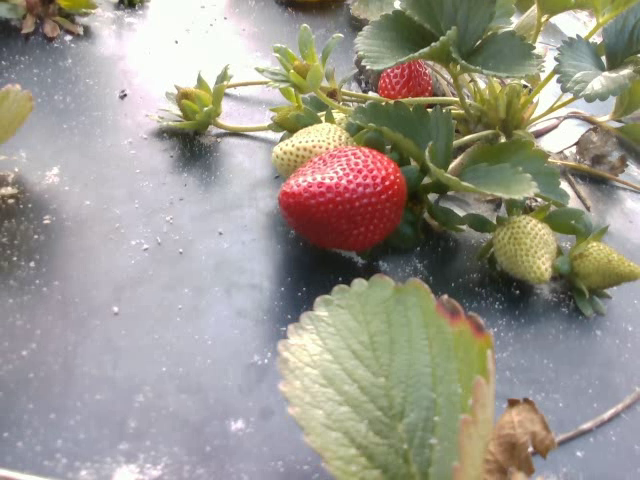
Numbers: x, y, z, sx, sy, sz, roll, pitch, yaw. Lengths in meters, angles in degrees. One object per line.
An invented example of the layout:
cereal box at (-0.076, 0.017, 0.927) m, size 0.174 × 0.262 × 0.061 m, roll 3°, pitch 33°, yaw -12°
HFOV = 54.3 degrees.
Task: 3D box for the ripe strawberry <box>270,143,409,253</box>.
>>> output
ripe strawberry at (0.001, -0.017, 0.226) m, size 0.051 × 0.048 × 0.055 m, roll -13°, pitch -7°, yaw 33°
